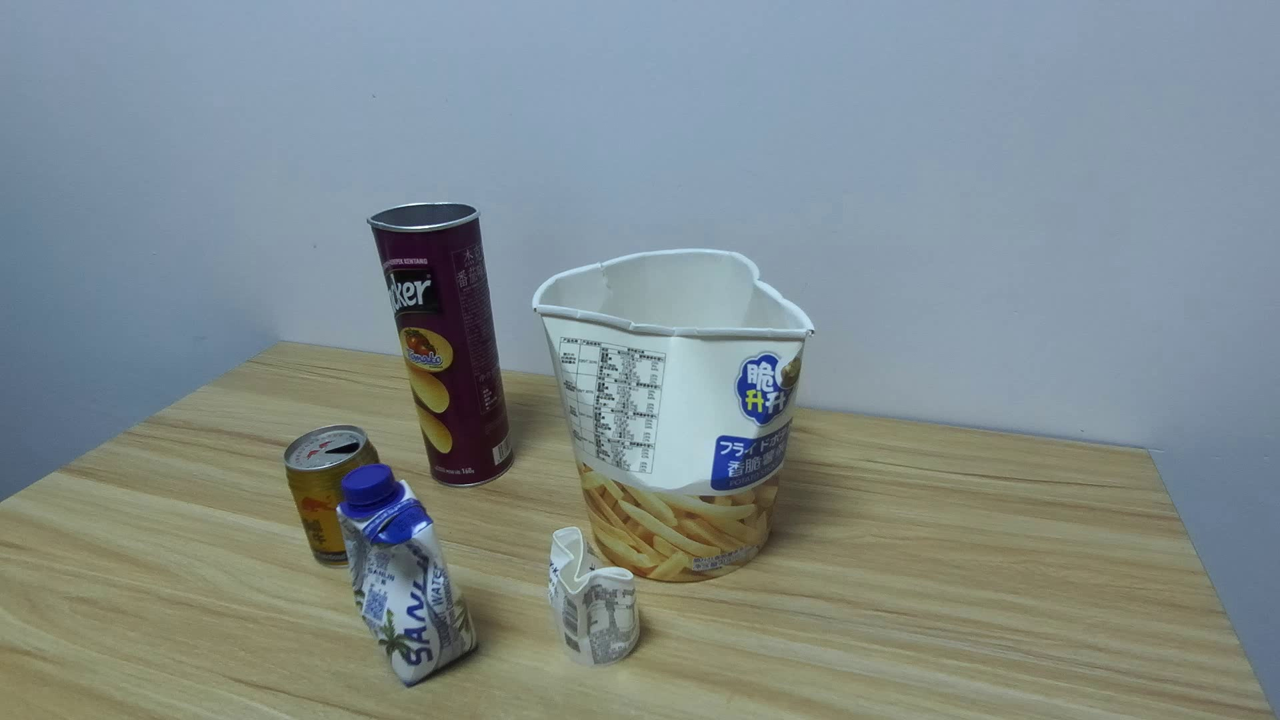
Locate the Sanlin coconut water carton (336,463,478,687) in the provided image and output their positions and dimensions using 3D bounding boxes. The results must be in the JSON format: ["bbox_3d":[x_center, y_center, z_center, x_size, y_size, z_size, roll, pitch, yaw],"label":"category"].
[{"bbox_3d":[-0.145,0.134,0.428,0.057,0.145,0.068,-29,43,-27],"label":"Sanlin coconut water carton"}]

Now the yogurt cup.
[{"bbox_3d":[-0.030,0.152,0.453,0.055,0.072,0.054,-12,30,-8],"label":"yogurt cup"}]

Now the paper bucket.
[{"bbox_3d":[0.018,0.041,0.523,0.163,0.202,0.168,-9,26,-8],"label":"paper bucket"}]

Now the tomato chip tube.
[{"bbox_3d":[-0.160,-0.009,0.600,0.077,0.234,0.080,-21,32,-29],"label":"tomato chip tube"}]

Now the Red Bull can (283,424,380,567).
[{"bbox_3d":[-0.228,0.105,0.541,0.068,0.093,0.068,-5,25,2],"label":"Red Bull can"}]
